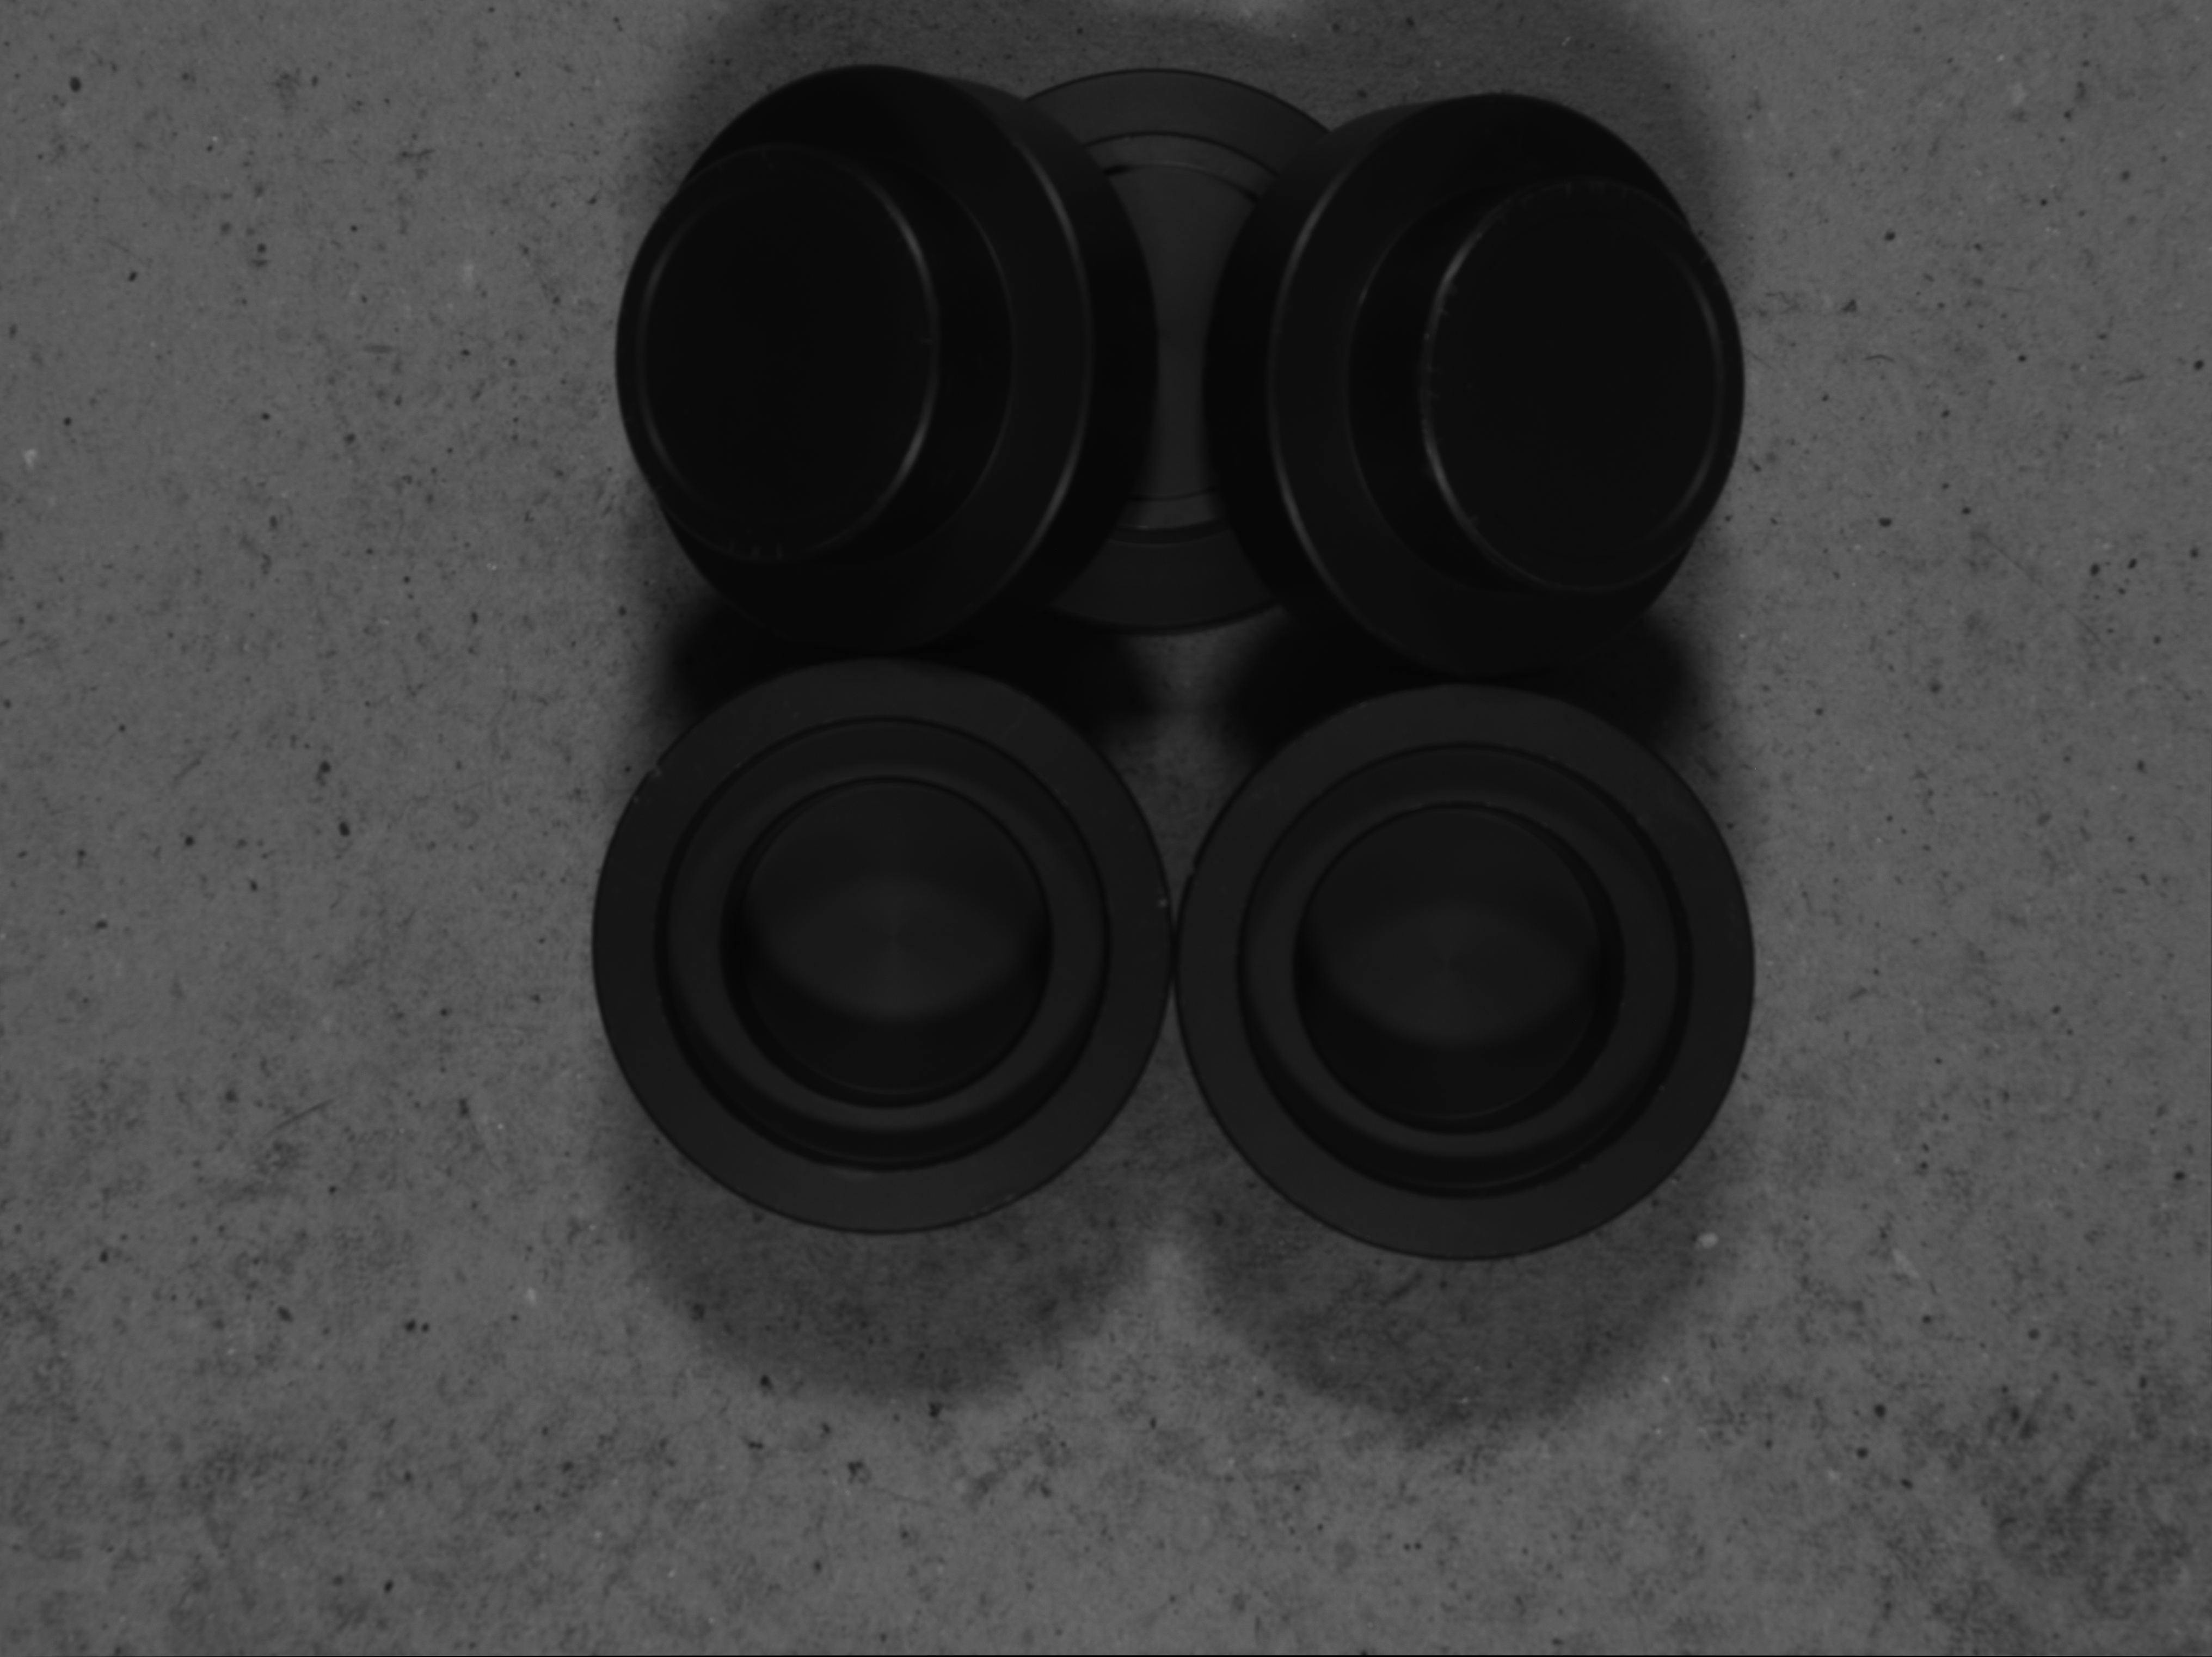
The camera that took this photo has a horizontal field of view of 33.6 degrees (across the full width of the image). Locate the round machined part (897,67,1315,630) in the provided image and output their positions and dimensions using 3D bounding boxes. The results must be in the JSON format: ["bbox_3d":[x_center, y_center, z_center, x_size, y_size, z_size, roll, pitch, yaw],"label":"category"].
[{"bbox_3d":[0.006,-0.084,0.636,0.098,0.042,0.098,0,90,0],"label":"round machined part"}]

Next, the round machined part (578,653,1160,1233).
[{"bbox_3d":[-0.040,0.019,0.636,0.098,0.042,0.098,0,90,0],"label":"round machined part"}]

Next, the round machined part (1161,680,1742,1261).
[{"bbox_3d":[0.058,0.024,0.637,0.098,0.042,0.098,0,90,0],"label":"round machined part"}]

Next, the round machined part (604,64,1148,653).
[{"bbox_3d":[-0.045,-0.078,0.613,0.098,0.042,0.098,2,94,33],"label":"round machined part"}]

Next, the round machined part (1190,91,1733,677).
[{"bbox_3d":[0.066,-0.074,0.616,0.098,0.042,0.098,-4,97,-31],"label":"round machined part"}]
